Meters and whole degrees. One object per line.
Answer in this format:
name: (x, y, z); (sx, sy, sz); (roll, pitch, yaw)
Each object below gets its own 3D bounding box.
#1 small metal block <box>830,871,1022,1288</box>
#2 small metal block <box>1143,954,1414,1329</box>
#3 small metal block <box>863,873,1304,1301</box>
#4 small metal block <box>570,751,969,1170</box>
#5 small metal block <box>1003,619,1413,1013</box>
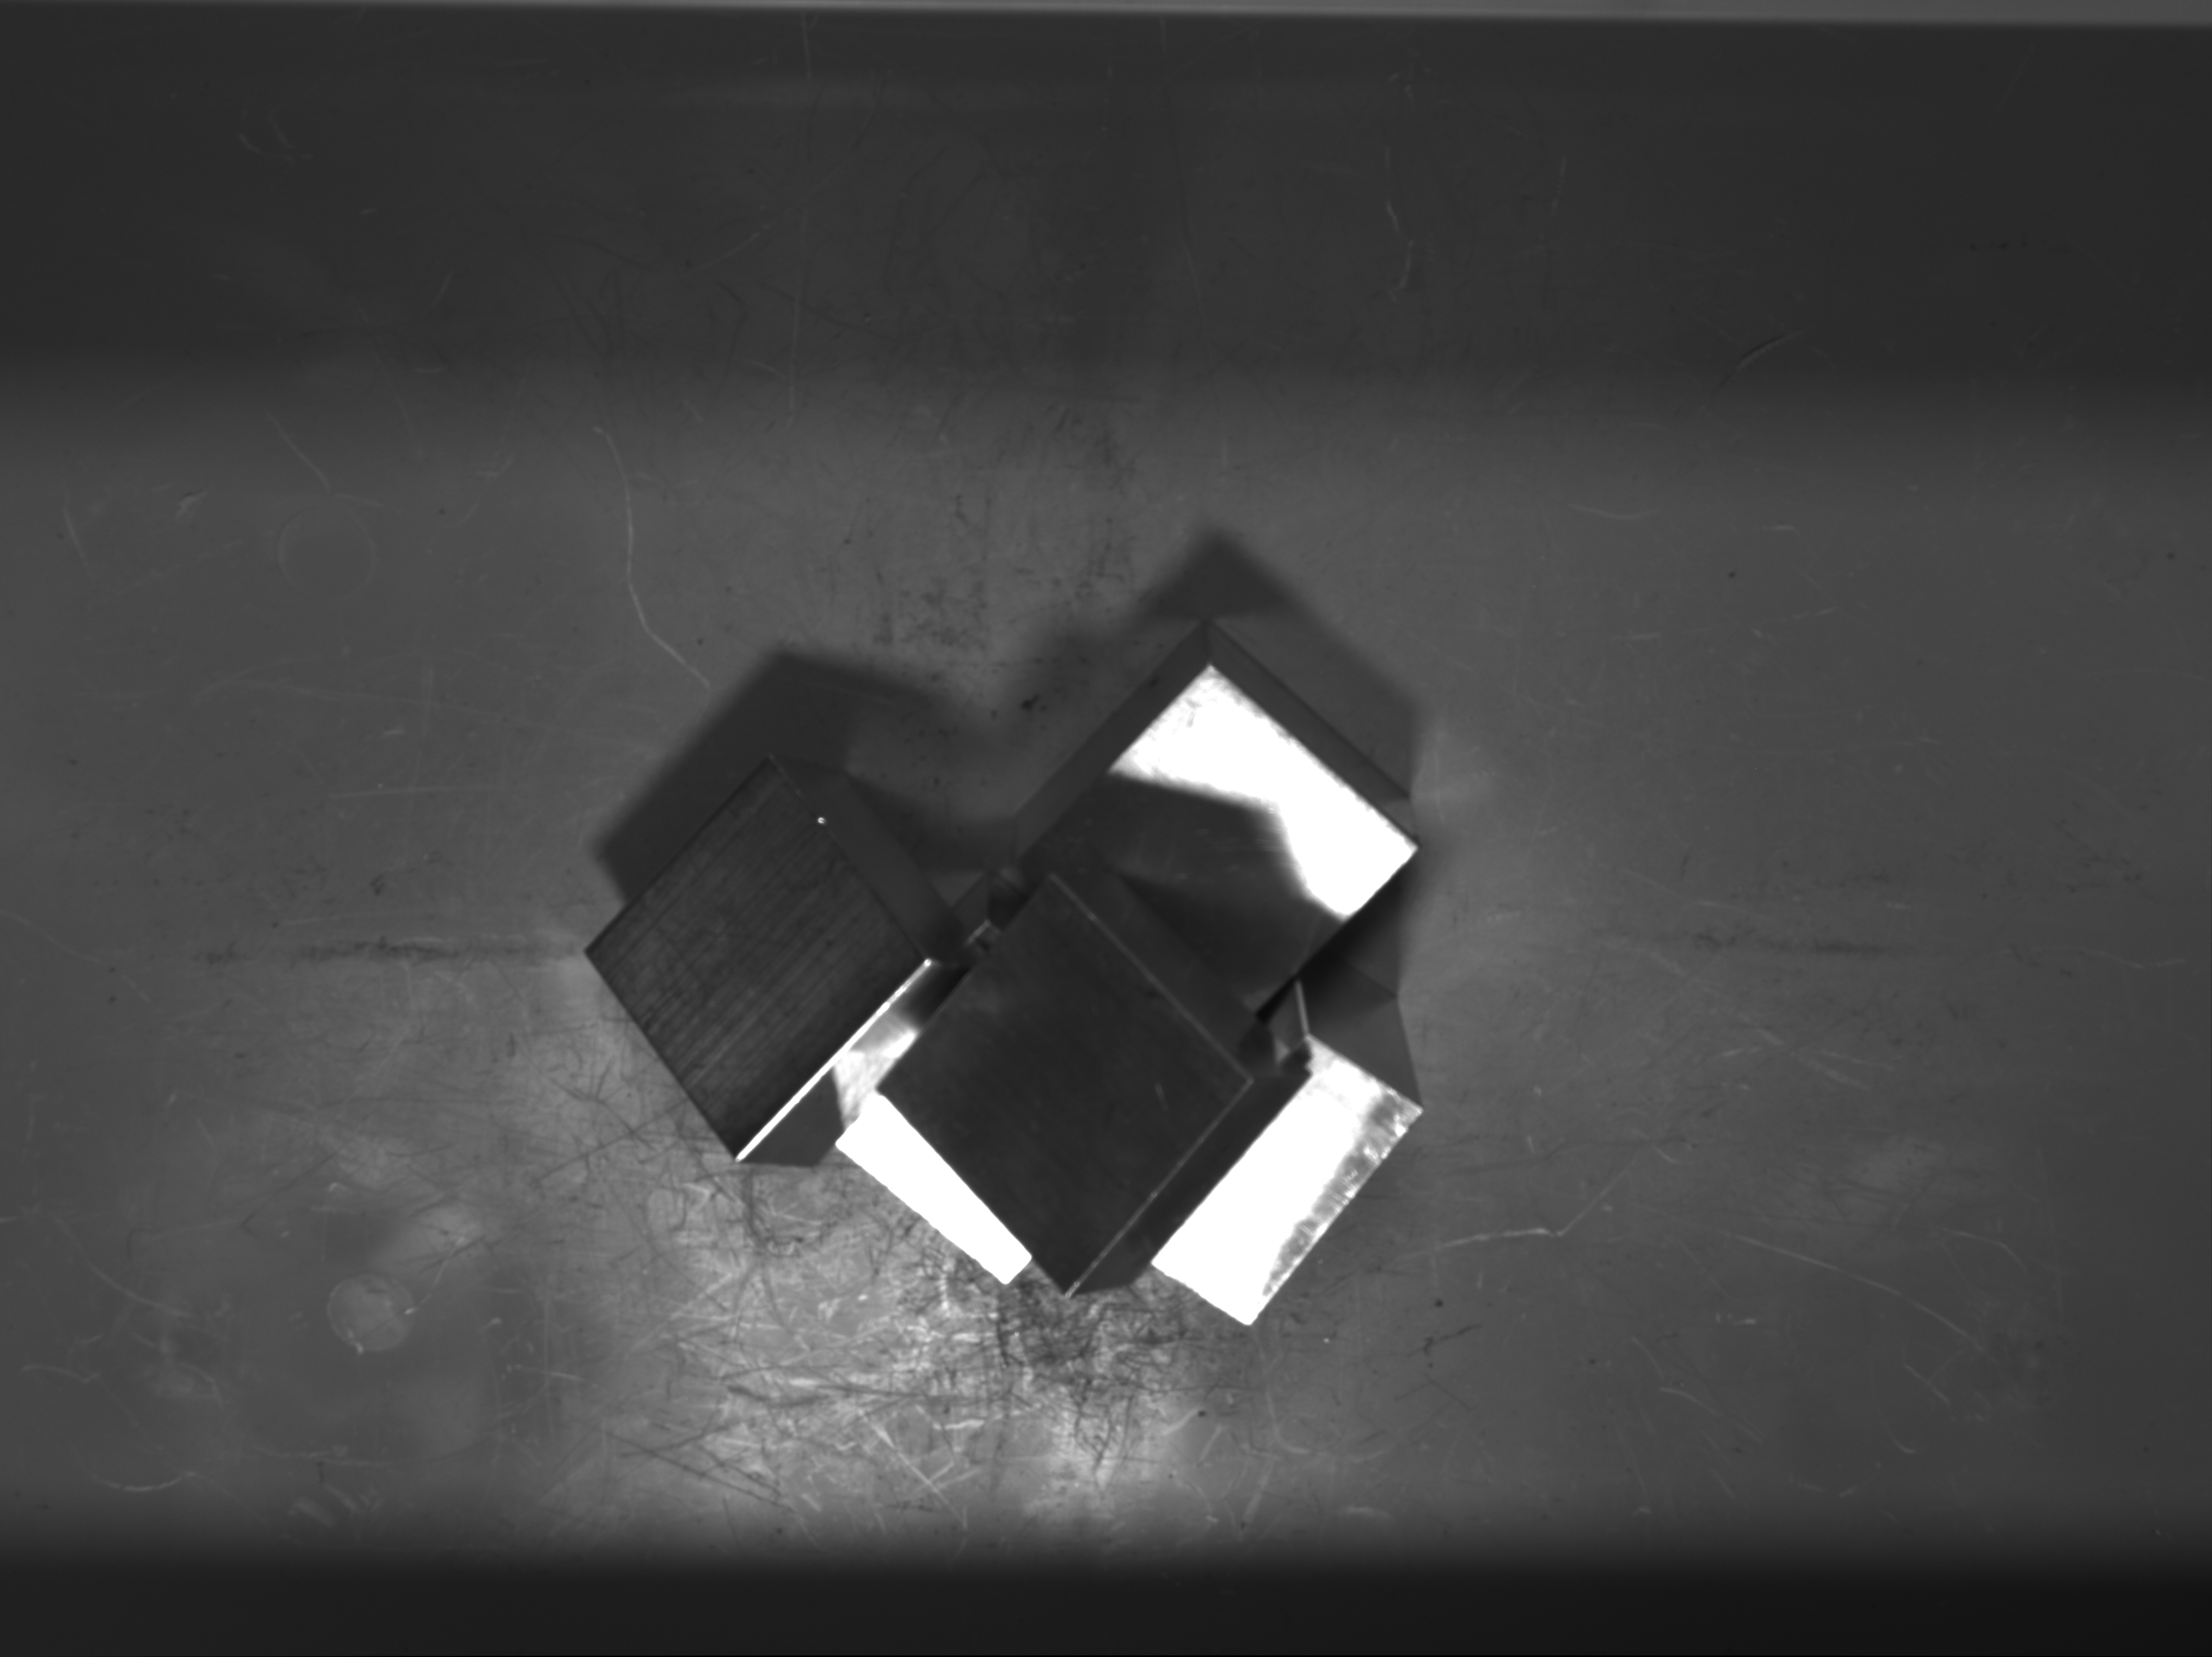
small metal block: (-0.021, 0.045, 0.658); (0.050, 0.025, 0.050); (41, 105, -14)
small metal block: (0.027, 0.052, 0.648); (0.025, 0.050, 0.050); (34, 106, -12)
small metal block: (-0.004, 0.043, 0.618); (0.050, 0.025, 0.050); (45, 106, 20)
small metal block: (-0.057, 0.023, 0.637); (0.050, 0.025, 0.050); (-46, 65, 15)
small metal block: (0.017, 0.001, 0.642); (0.050, 0.025, 0.050); (41, 105, -14)
